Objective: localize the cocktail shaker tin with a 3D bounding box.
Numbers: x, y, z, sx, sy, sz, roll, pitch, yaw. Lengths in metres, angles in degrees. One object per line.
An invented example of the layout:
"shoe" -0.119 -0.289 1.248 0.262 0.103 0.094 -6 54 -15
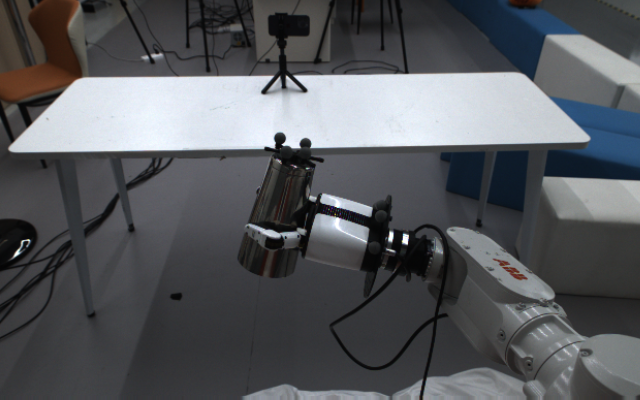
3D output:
"cocktail shaker tin" -0.060 0.019 0.723 0.093 0.170 0.093 15 20 -5
